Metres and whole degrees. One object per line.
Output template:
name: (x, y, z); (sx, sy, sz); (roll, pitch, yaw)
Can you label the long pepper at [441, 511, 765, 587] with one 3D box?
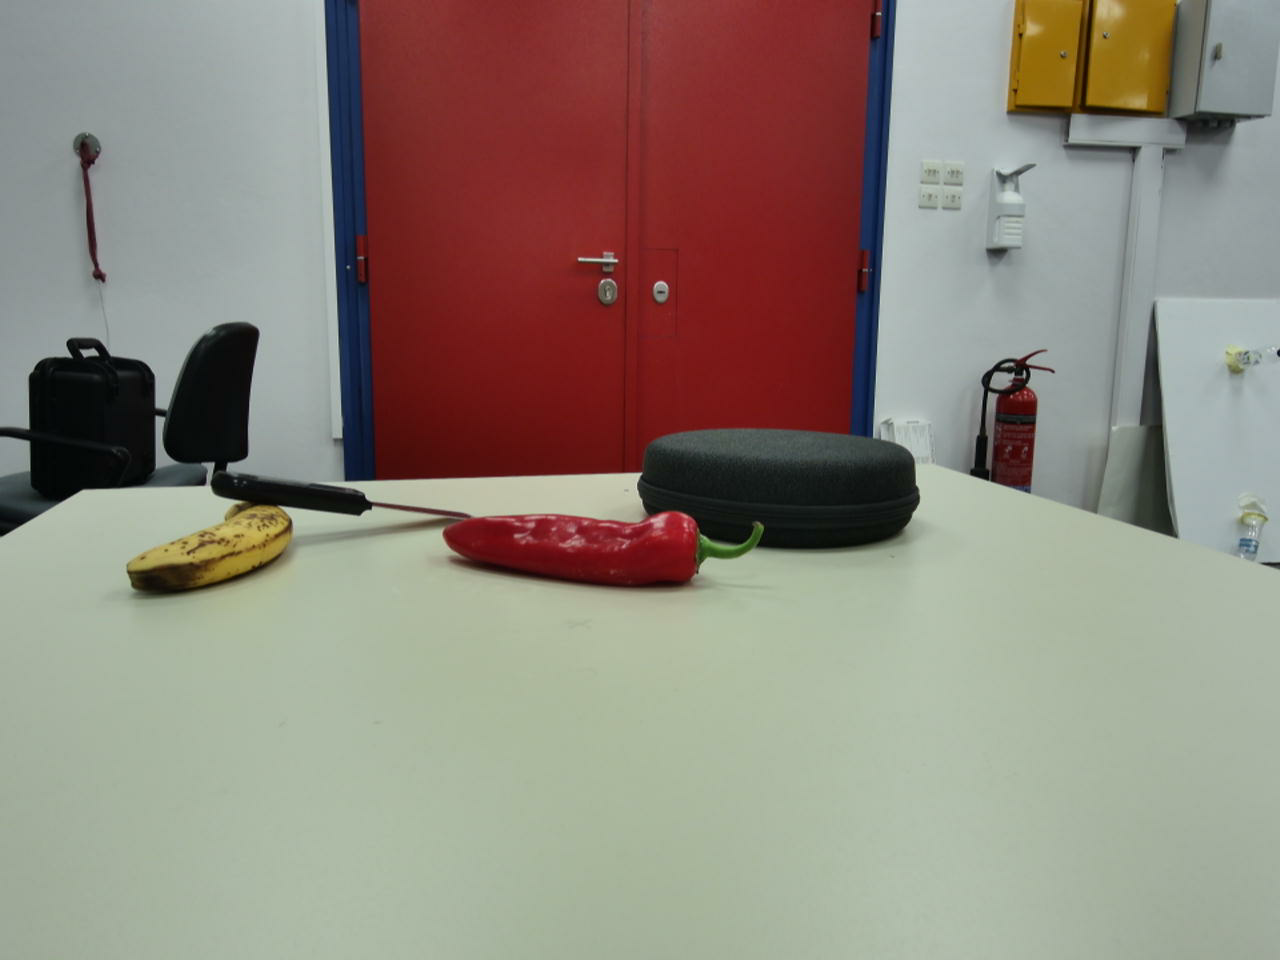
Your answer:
long pepper: (-0.032, 0.038, 0.607); (0.211, 0.043, 0.050); (2, 8, 19)
